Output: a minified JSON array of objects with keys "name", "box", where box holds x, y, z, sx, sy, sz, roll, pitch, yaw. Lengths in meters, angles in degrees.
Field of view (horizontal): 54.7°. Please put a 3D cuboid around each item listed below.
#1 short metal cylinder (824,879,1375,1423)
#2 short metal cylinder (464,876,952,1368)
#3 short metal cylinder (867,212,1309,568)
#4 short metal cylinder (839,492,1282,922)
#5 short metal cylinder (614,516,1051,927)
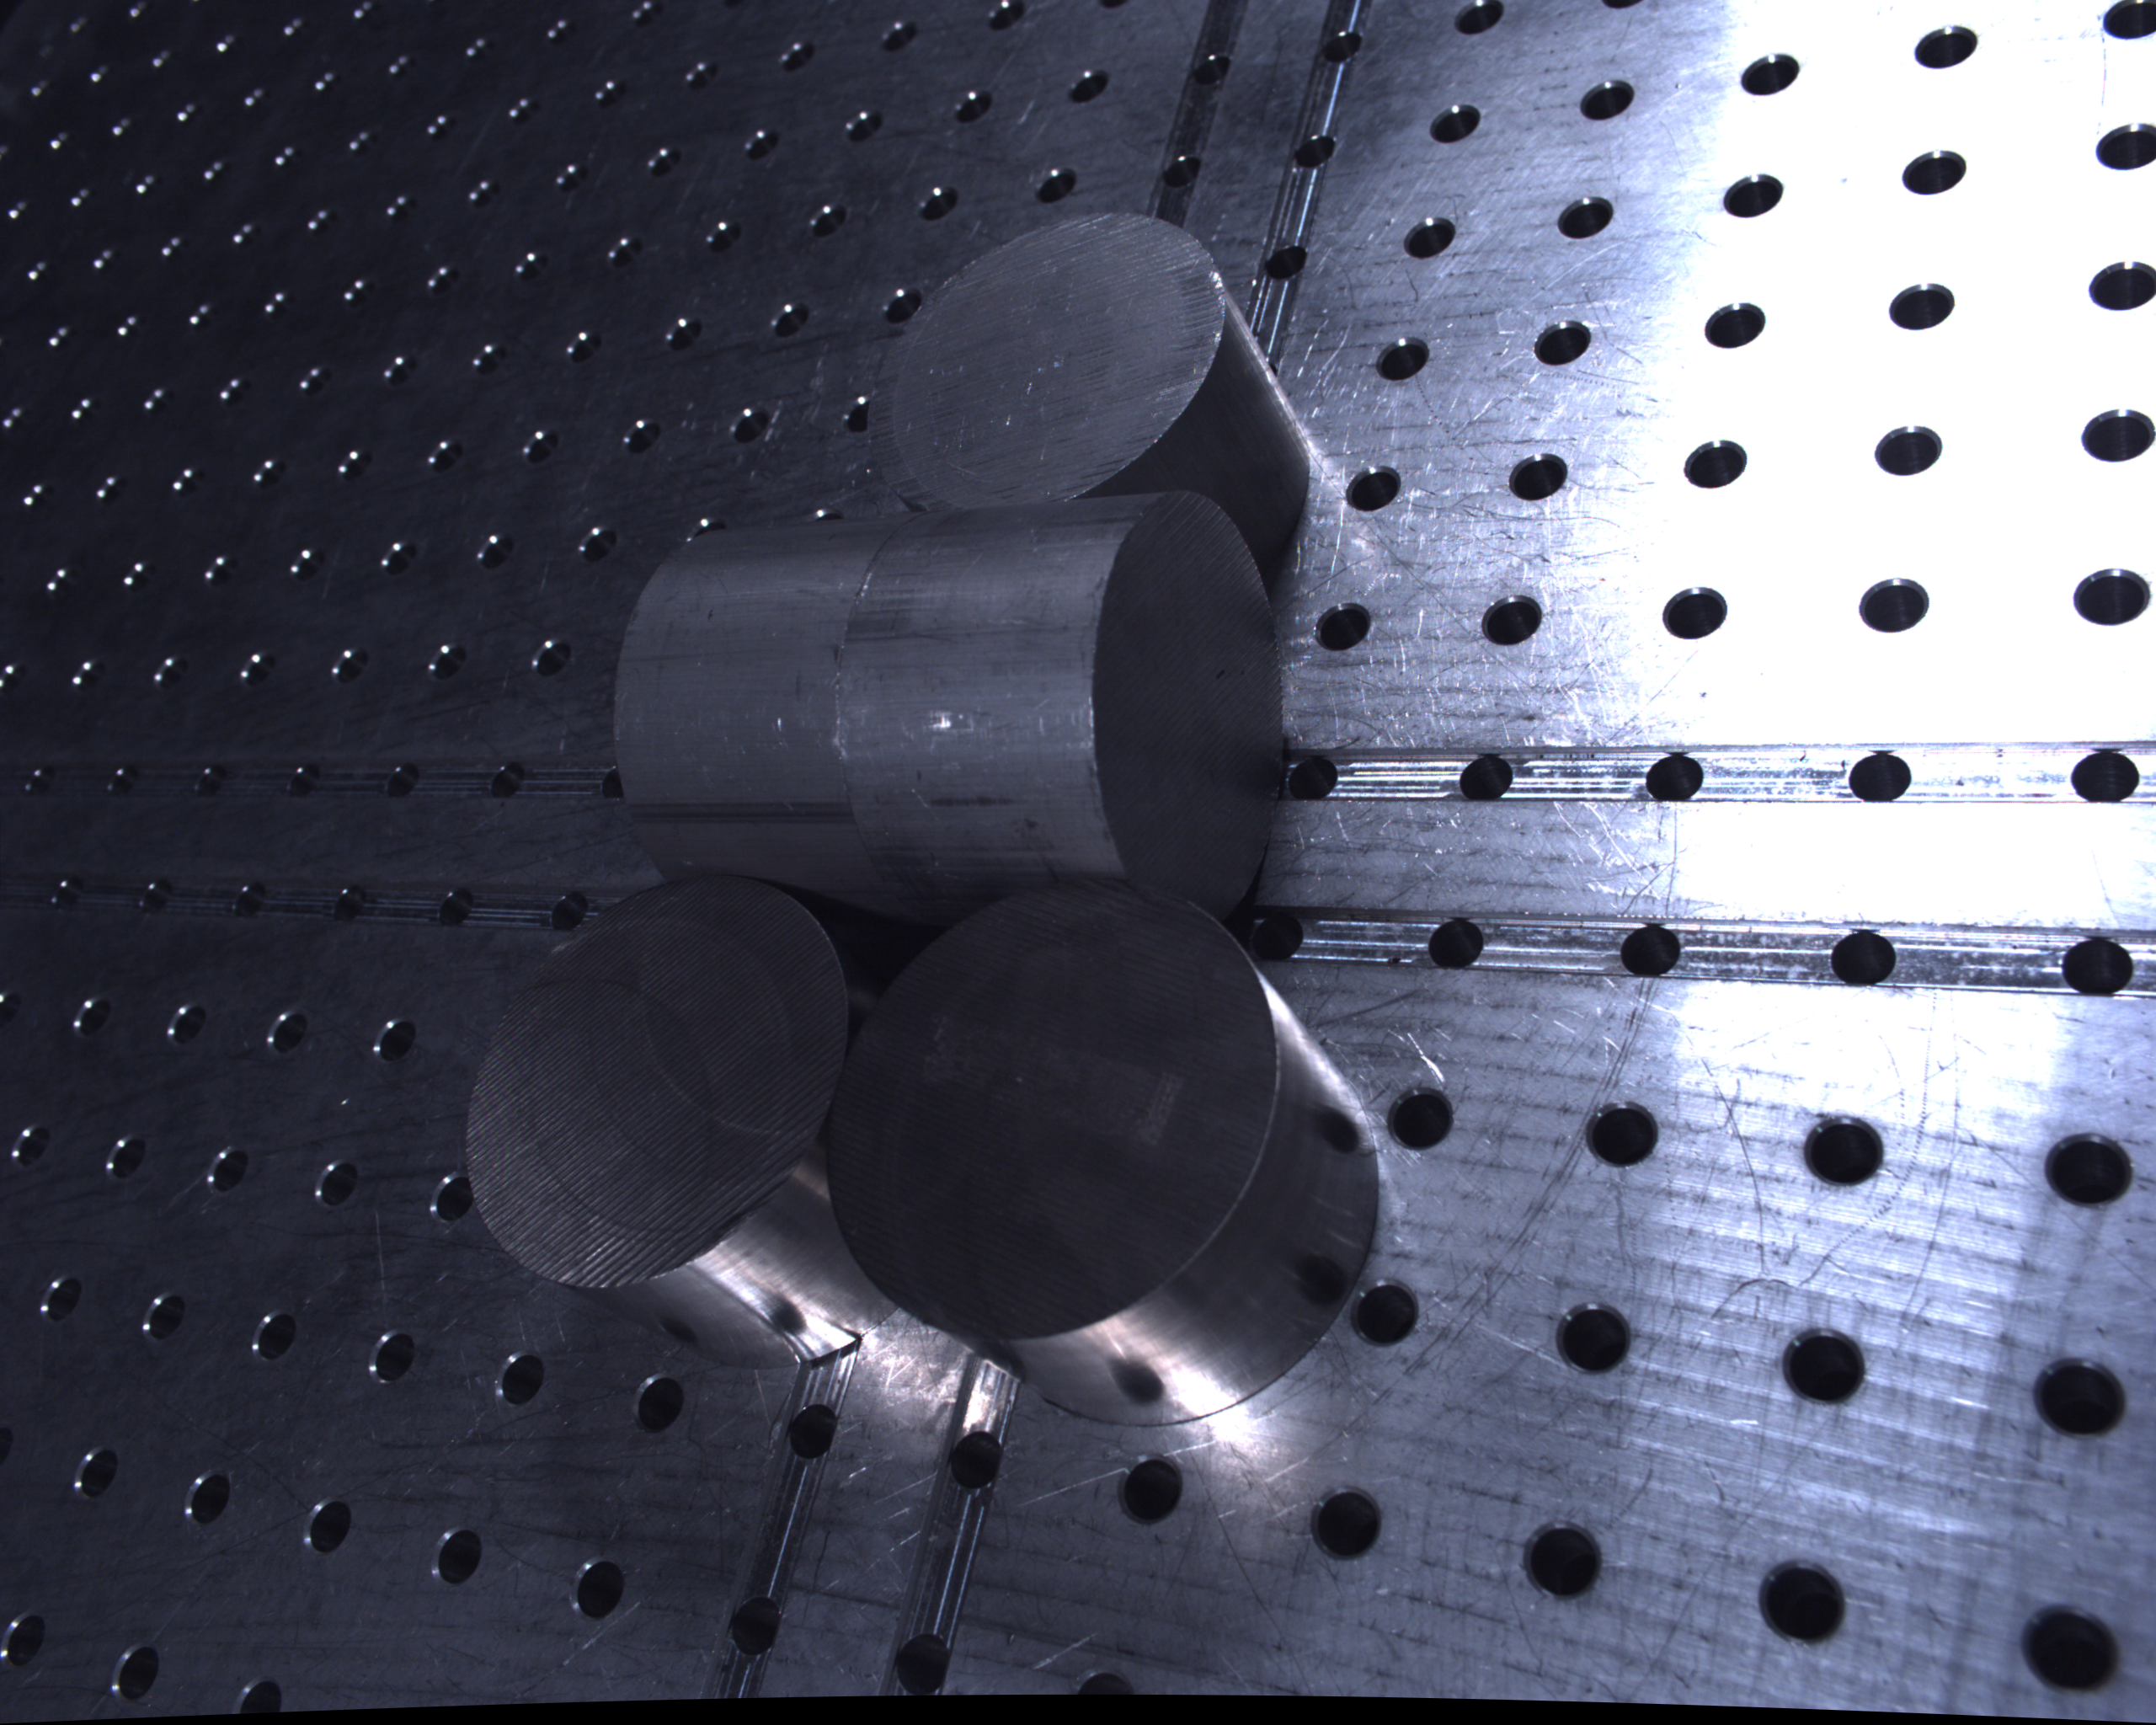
[{"name":"short metal cylinder","box":[0.004,0.049,0.356,0.080,0.050,0.080,-13,56,20]},{"name":"short metal cylinder","box":[-0.067,0.049,0.394,0.080,0.050,0.080,-13,56,20]},{"name":"short metal cylinder","box":[0.003,-0.091,0.445,0.080,0.050,0.080,-13,56,20]},{"name":"short metal cylinder","box":[-0.001,-0.027,0.389,0.050,0.080,0.080,0,62,28]},{"name":"short metal cylinder","box":[-0.045,-0.027,0.412,0.050,0.080,0.080,0,62,28]}]
